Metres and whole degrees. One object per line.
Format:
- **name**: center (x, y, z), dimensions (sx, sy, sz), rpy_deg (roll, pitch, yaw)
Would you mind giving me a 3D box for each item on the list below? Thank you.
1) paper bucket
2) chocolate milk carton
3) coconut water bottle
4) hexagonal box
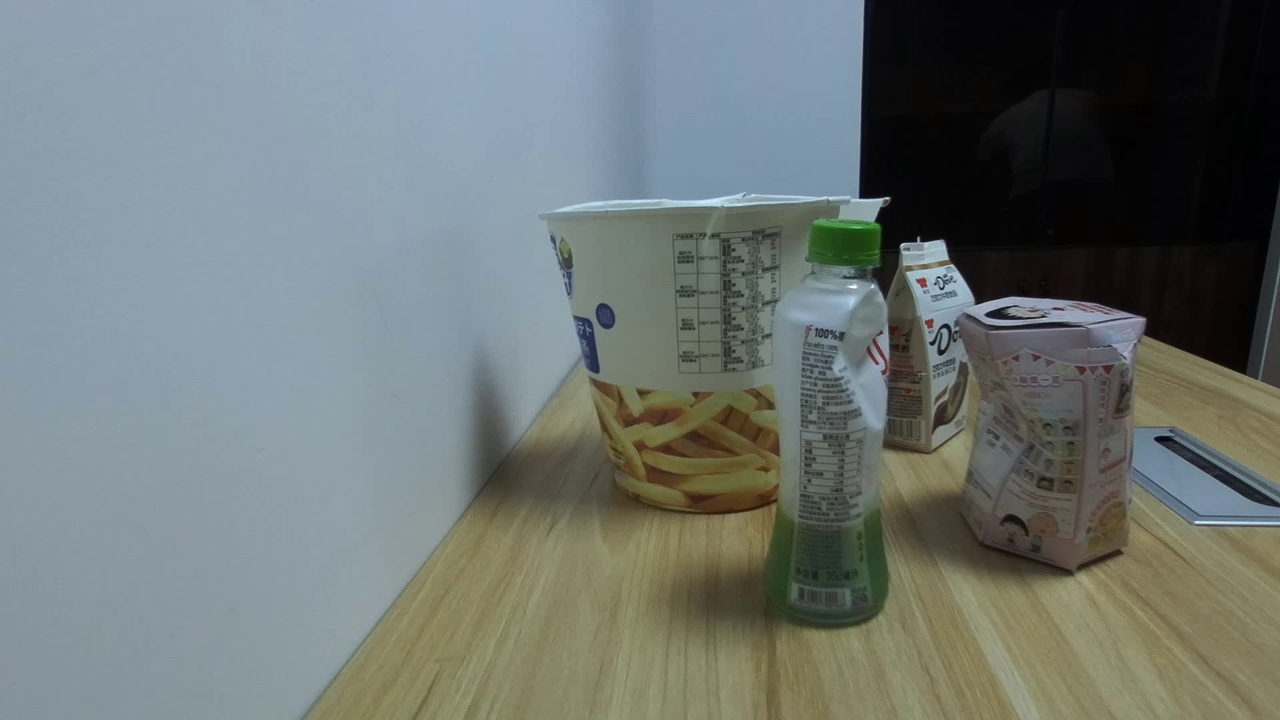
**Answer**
- **paper bucket**: center (0.054, -0.014, 0.491), dimensions (0.203, 0.197, 0.145), rpy_deg (-11, 18, -28)
- **chocolate milk carton**: center (0.212, -0.016, 0.556), dimensions (0.072, 0.155, 0.085), rpy_deg (12, 21, 42)
- **coconut water bottle**: center (0.093, 0.028, 0.340), dimensions (0.069, 0.187, 0.069), rpy_deg (0, 11, 0)
- **hexagonal box**: center (0.225, 0.038, 0.397), dimensions (0.091, 0.134, 0.089), rpy_deg (-17, 18, -41)
